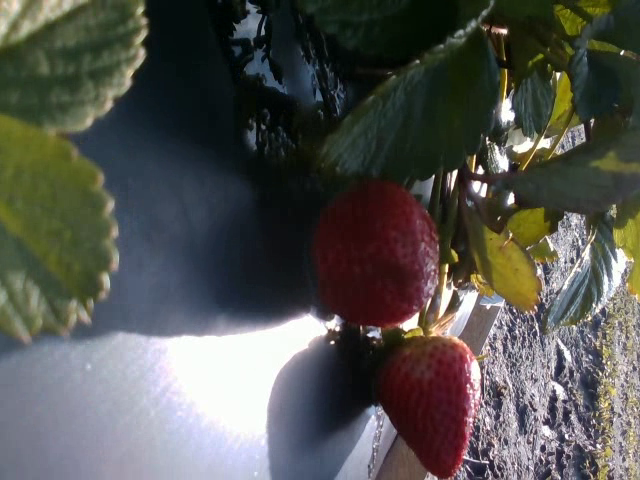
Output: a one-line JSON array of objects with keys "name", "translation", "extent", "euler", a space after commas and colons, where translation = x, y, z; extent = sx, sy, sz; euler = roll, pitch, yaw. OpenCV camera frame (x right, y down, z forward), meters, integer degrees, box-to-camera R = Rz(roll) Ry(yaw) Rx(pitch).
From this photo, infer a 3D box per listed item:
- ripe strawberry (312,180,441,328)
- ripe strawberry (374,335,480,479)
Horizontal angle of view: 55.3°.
[{"name": "ripe strawberry", "translation": [0.019, 0.005, 0.175], "extent": [0.039, 0.048, 0.054], "euler": [23, 12, -8]}, {"name": "ripe strawberry", "translation": [0.043, 0.058, 0.215], "extent": [0.038, 0.053, 0.043], "euler": [-10, -21, 2]}]
